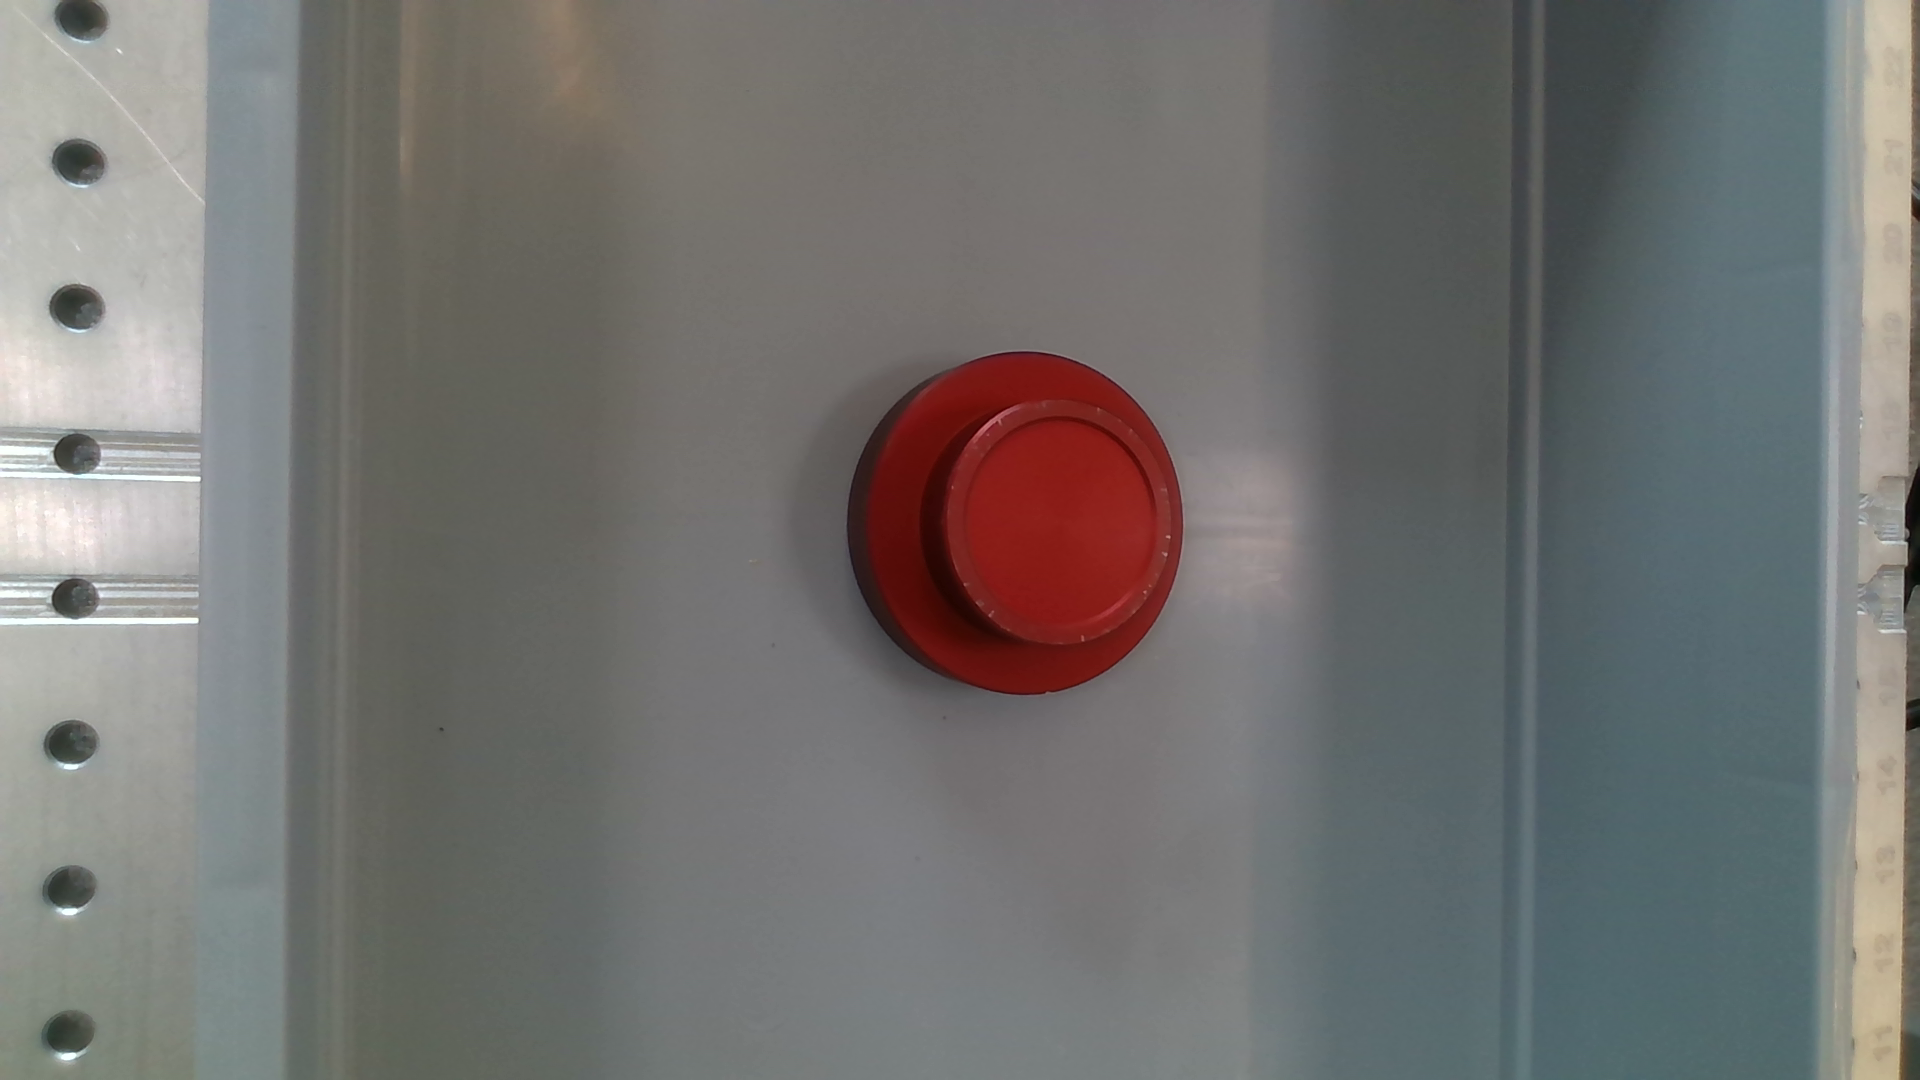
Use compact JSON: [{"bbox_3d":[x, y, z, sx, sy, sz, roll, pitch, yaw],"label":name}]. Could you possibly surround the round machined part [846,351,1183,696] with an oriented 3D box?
[{"bbox_3d":[0.020,-0.005,0.390,0.098,0.042,0.098,0,90,-20],"label":"round machined part"}]
